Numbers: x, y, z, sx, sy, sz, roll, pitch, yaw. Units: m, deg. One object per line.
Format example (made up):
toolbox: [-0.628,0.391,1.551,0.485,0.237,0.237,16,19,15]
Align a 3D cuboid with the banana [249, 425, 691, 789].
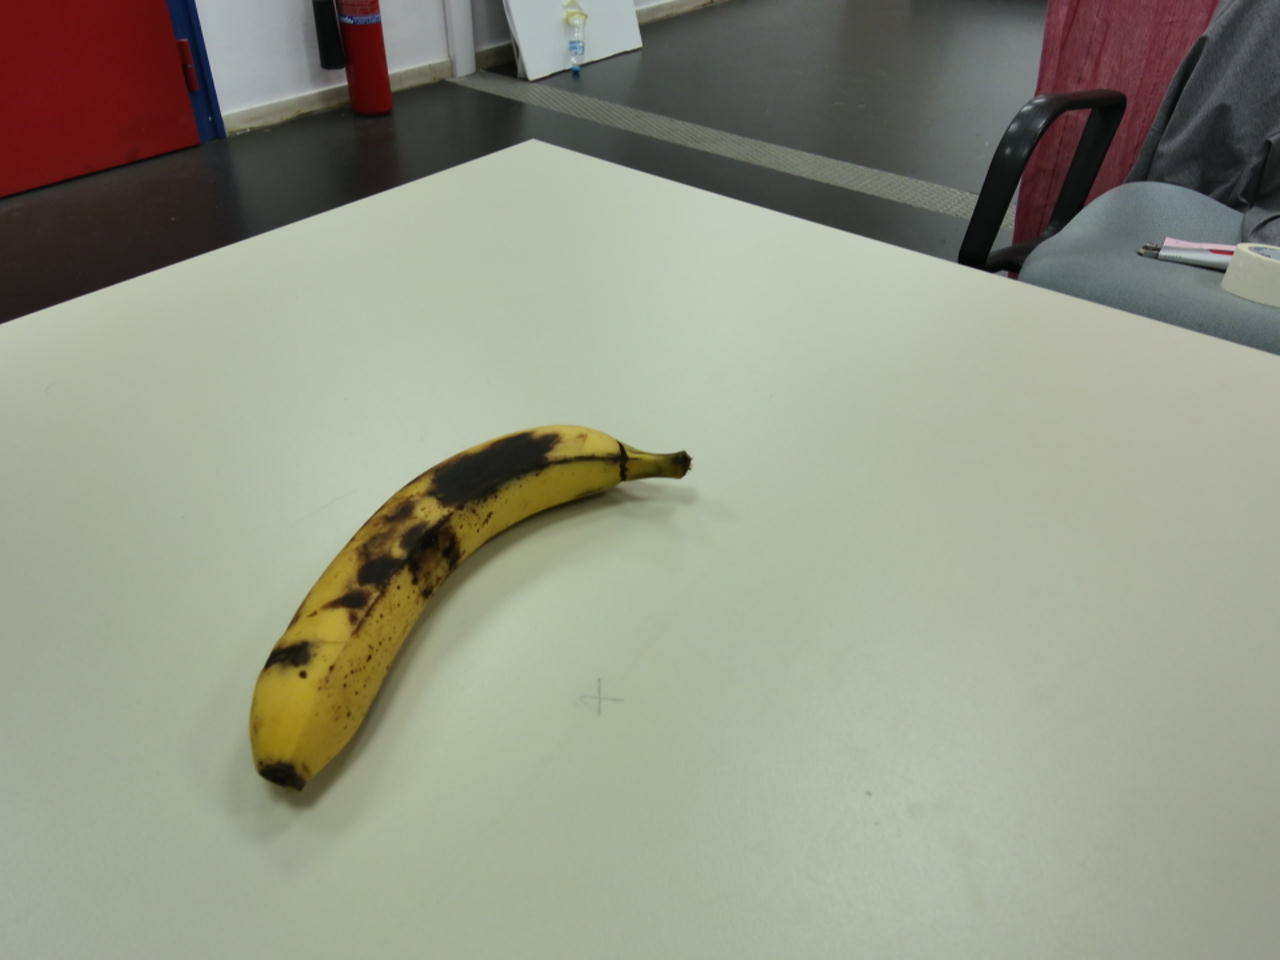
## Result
banana: [-0.075,0.028,0.397,0.084,0.037,0.222,25,42,29]
